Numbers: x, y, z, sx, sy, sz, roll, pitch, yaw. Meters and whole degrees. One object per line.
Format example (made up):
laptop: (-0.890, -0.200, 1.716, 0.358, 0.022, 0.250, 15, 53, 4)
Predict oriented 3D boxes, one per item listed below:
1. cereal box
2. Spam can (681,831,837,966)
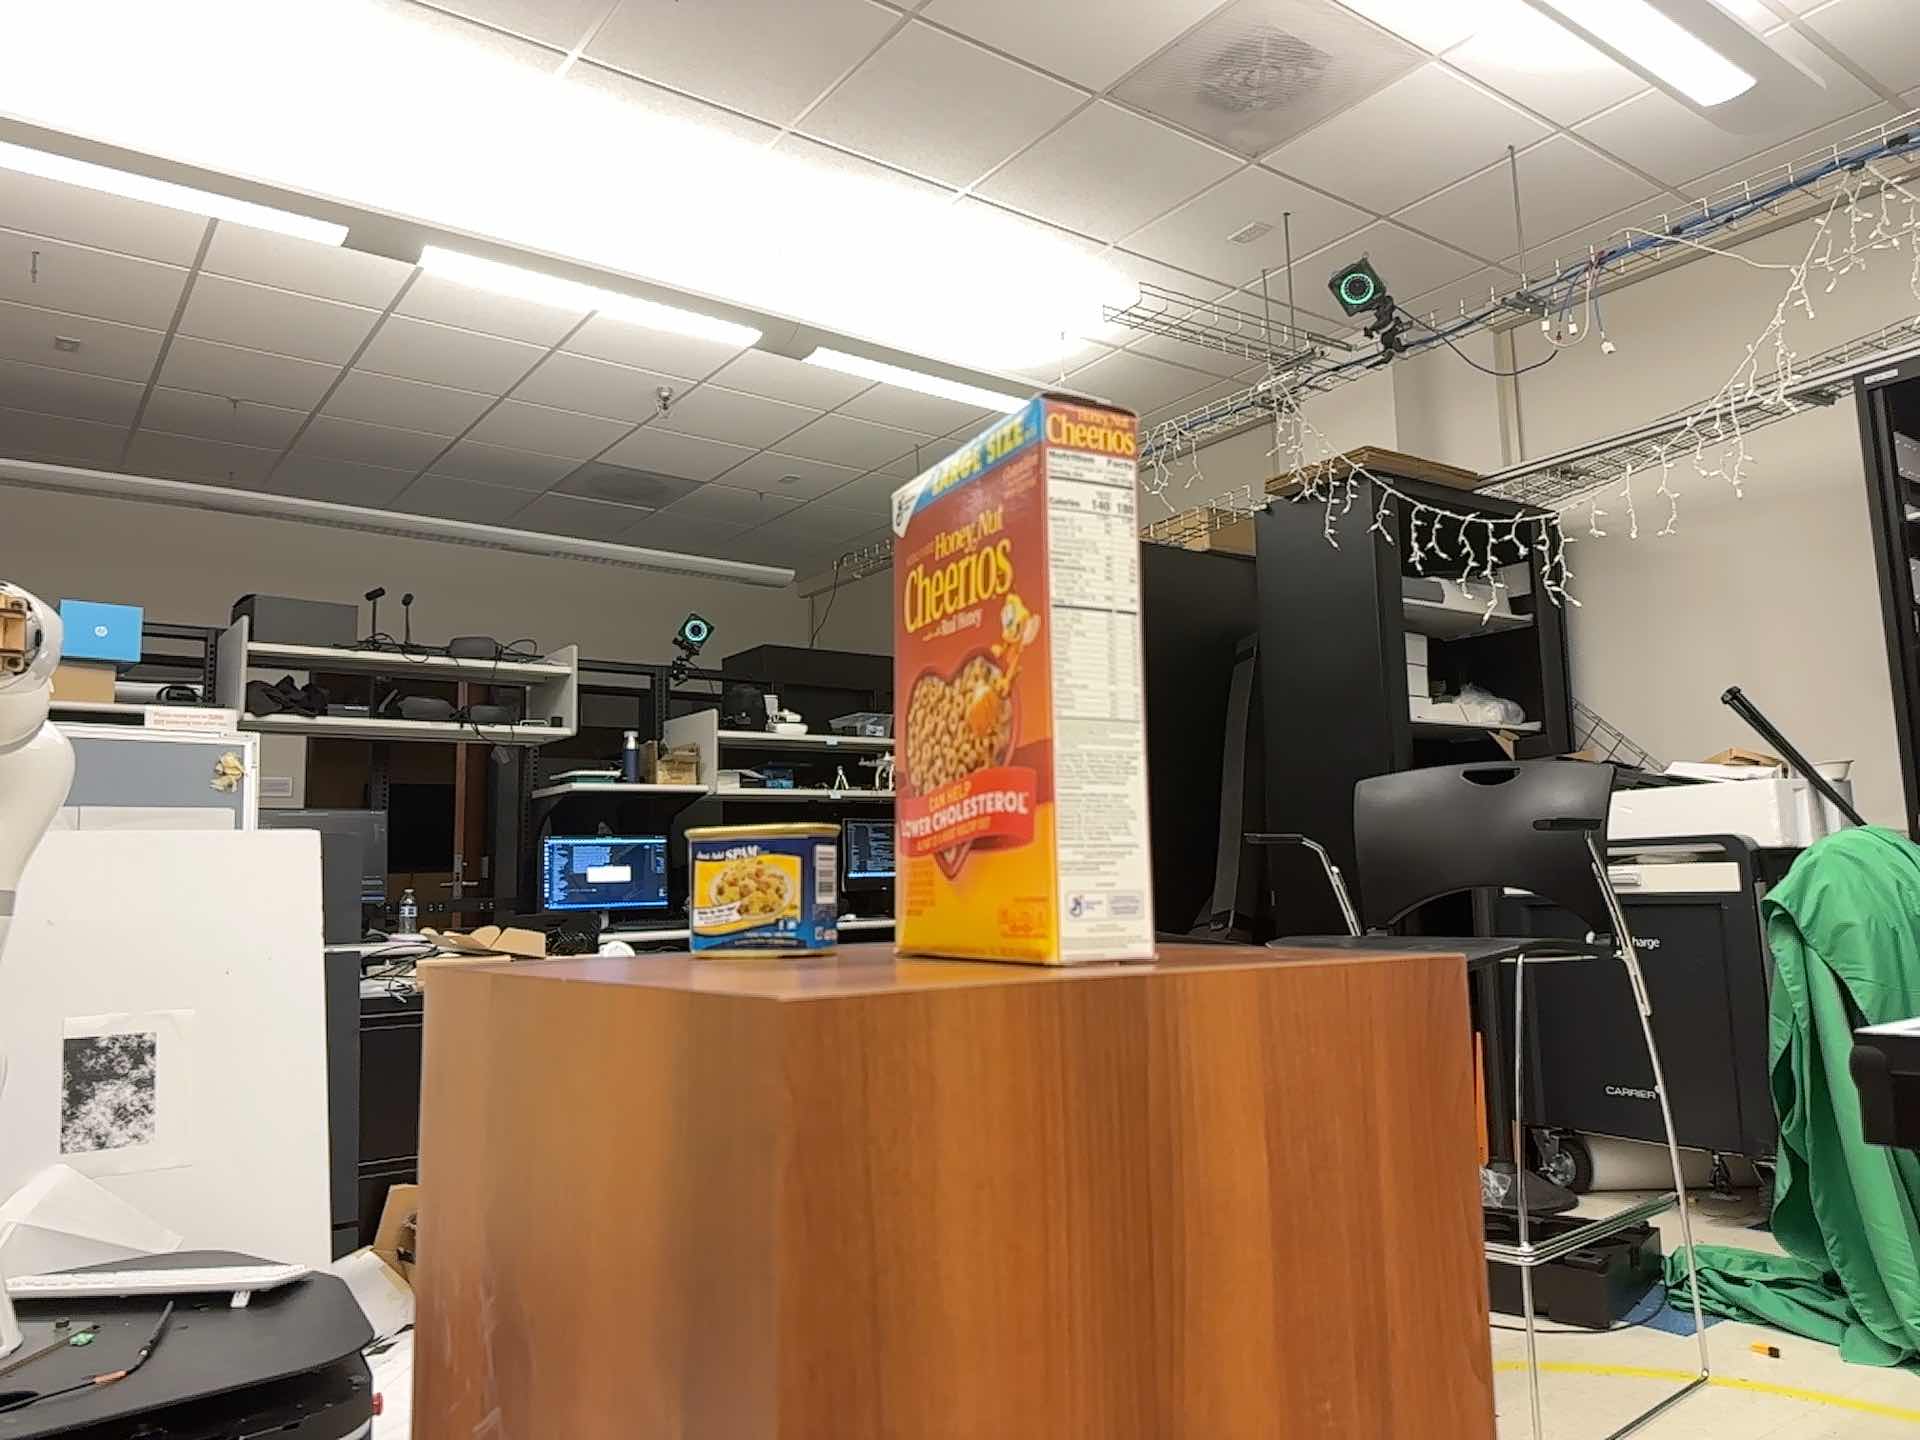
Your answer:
cereal box: (0.027, -0.011, 0.809, 0.065, 0.297, 0.195, 4, -10, -27)
Spam can: (-0.135, 0.120, 0.898, 0.100, 0.083, 0.056, -4, -10, 15)
